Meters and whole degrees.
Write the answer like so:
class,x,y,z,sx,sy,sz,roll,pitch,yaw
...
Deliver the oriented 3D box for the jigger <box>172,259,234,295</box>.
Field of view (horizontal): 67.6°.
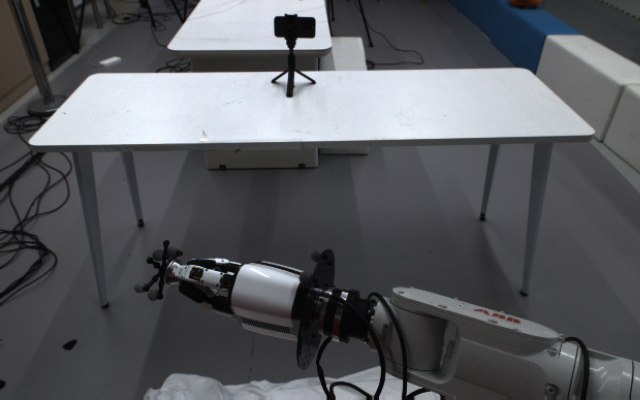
class,x,y,z,sx,sy,sz,roll,pitch,yaw
jigger,-0.174,0.107,0.688,0.071,0.043,0.043,10,35,16
